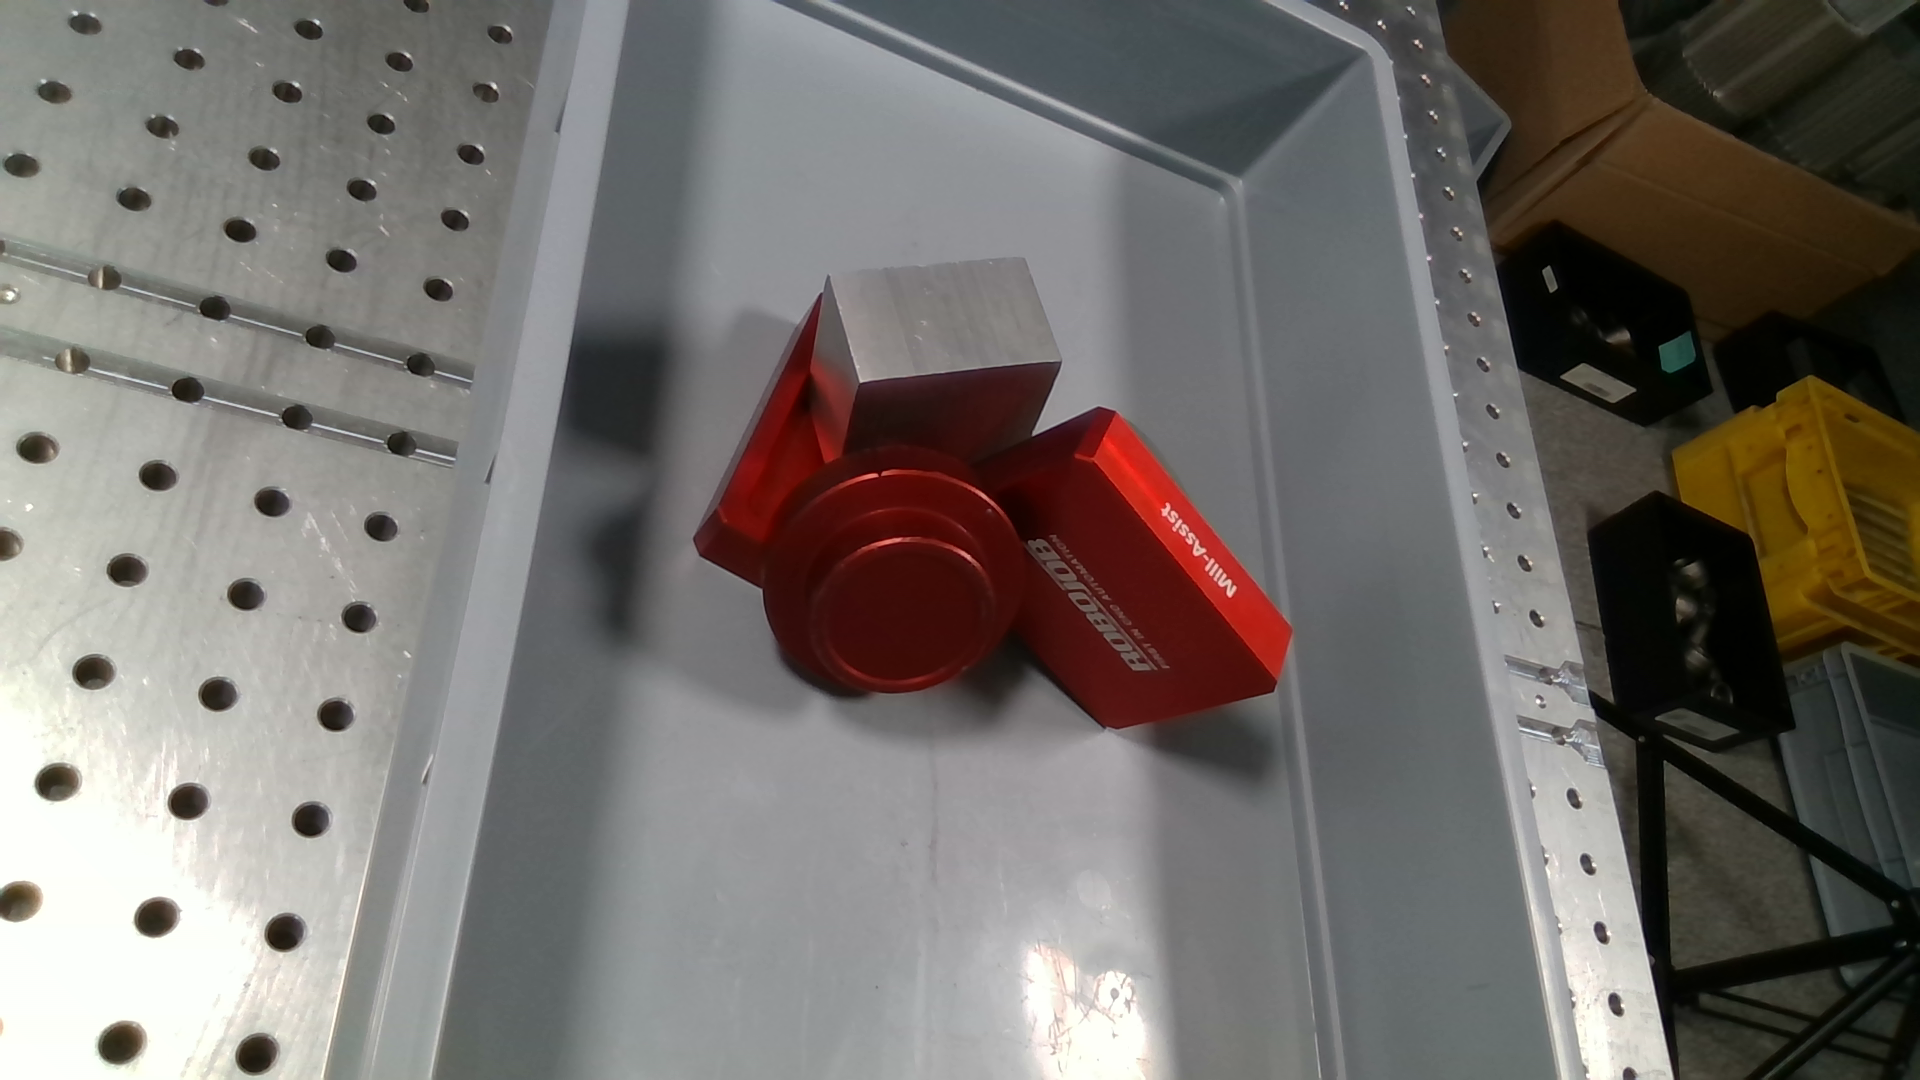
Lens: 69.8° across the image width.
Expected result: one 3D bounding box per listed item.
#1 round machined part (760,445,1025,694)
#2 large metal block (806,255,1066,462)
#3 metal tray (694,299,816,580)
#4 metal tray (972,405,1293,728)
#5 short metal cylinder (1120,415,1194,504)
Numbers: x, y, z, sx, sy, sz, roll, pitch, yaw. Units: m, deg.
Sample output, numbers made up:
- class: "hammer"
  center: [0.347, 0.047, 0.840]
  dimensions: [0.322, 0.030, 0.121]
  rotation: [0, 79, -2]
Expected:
- class: "round machined part"
  center: [-0.024, 0.018, 0.509]
  dimensions: [0.098, 0.098, 0.042]
  rotation: [20, 26, -22]
- class: "large metal block"
  center: [-0.013, -0.064, 0.546]
  dimensions: [0.080, 0.080, 0.050]
  rotation: [-9, 63, -18]
- class: "metal tray"
  center: [-0.043, -0.032, 0.571]
  dimensions: [0.090, 0.030, 0.130]
  rotation: [30, 53, -15]
- class: "metal tray"
  center: [0.060, 0.016, 0.551]
  dimensions: [0.130, 0.090, 0.030]
  rotation: [48, 46, -21]
- class: "short metal cylinder"
  center: [0.064, -0.007, 0.593]
  dimensions: [0.080, 0.050, 0.080]
  rotation: [41, 31, -32]
